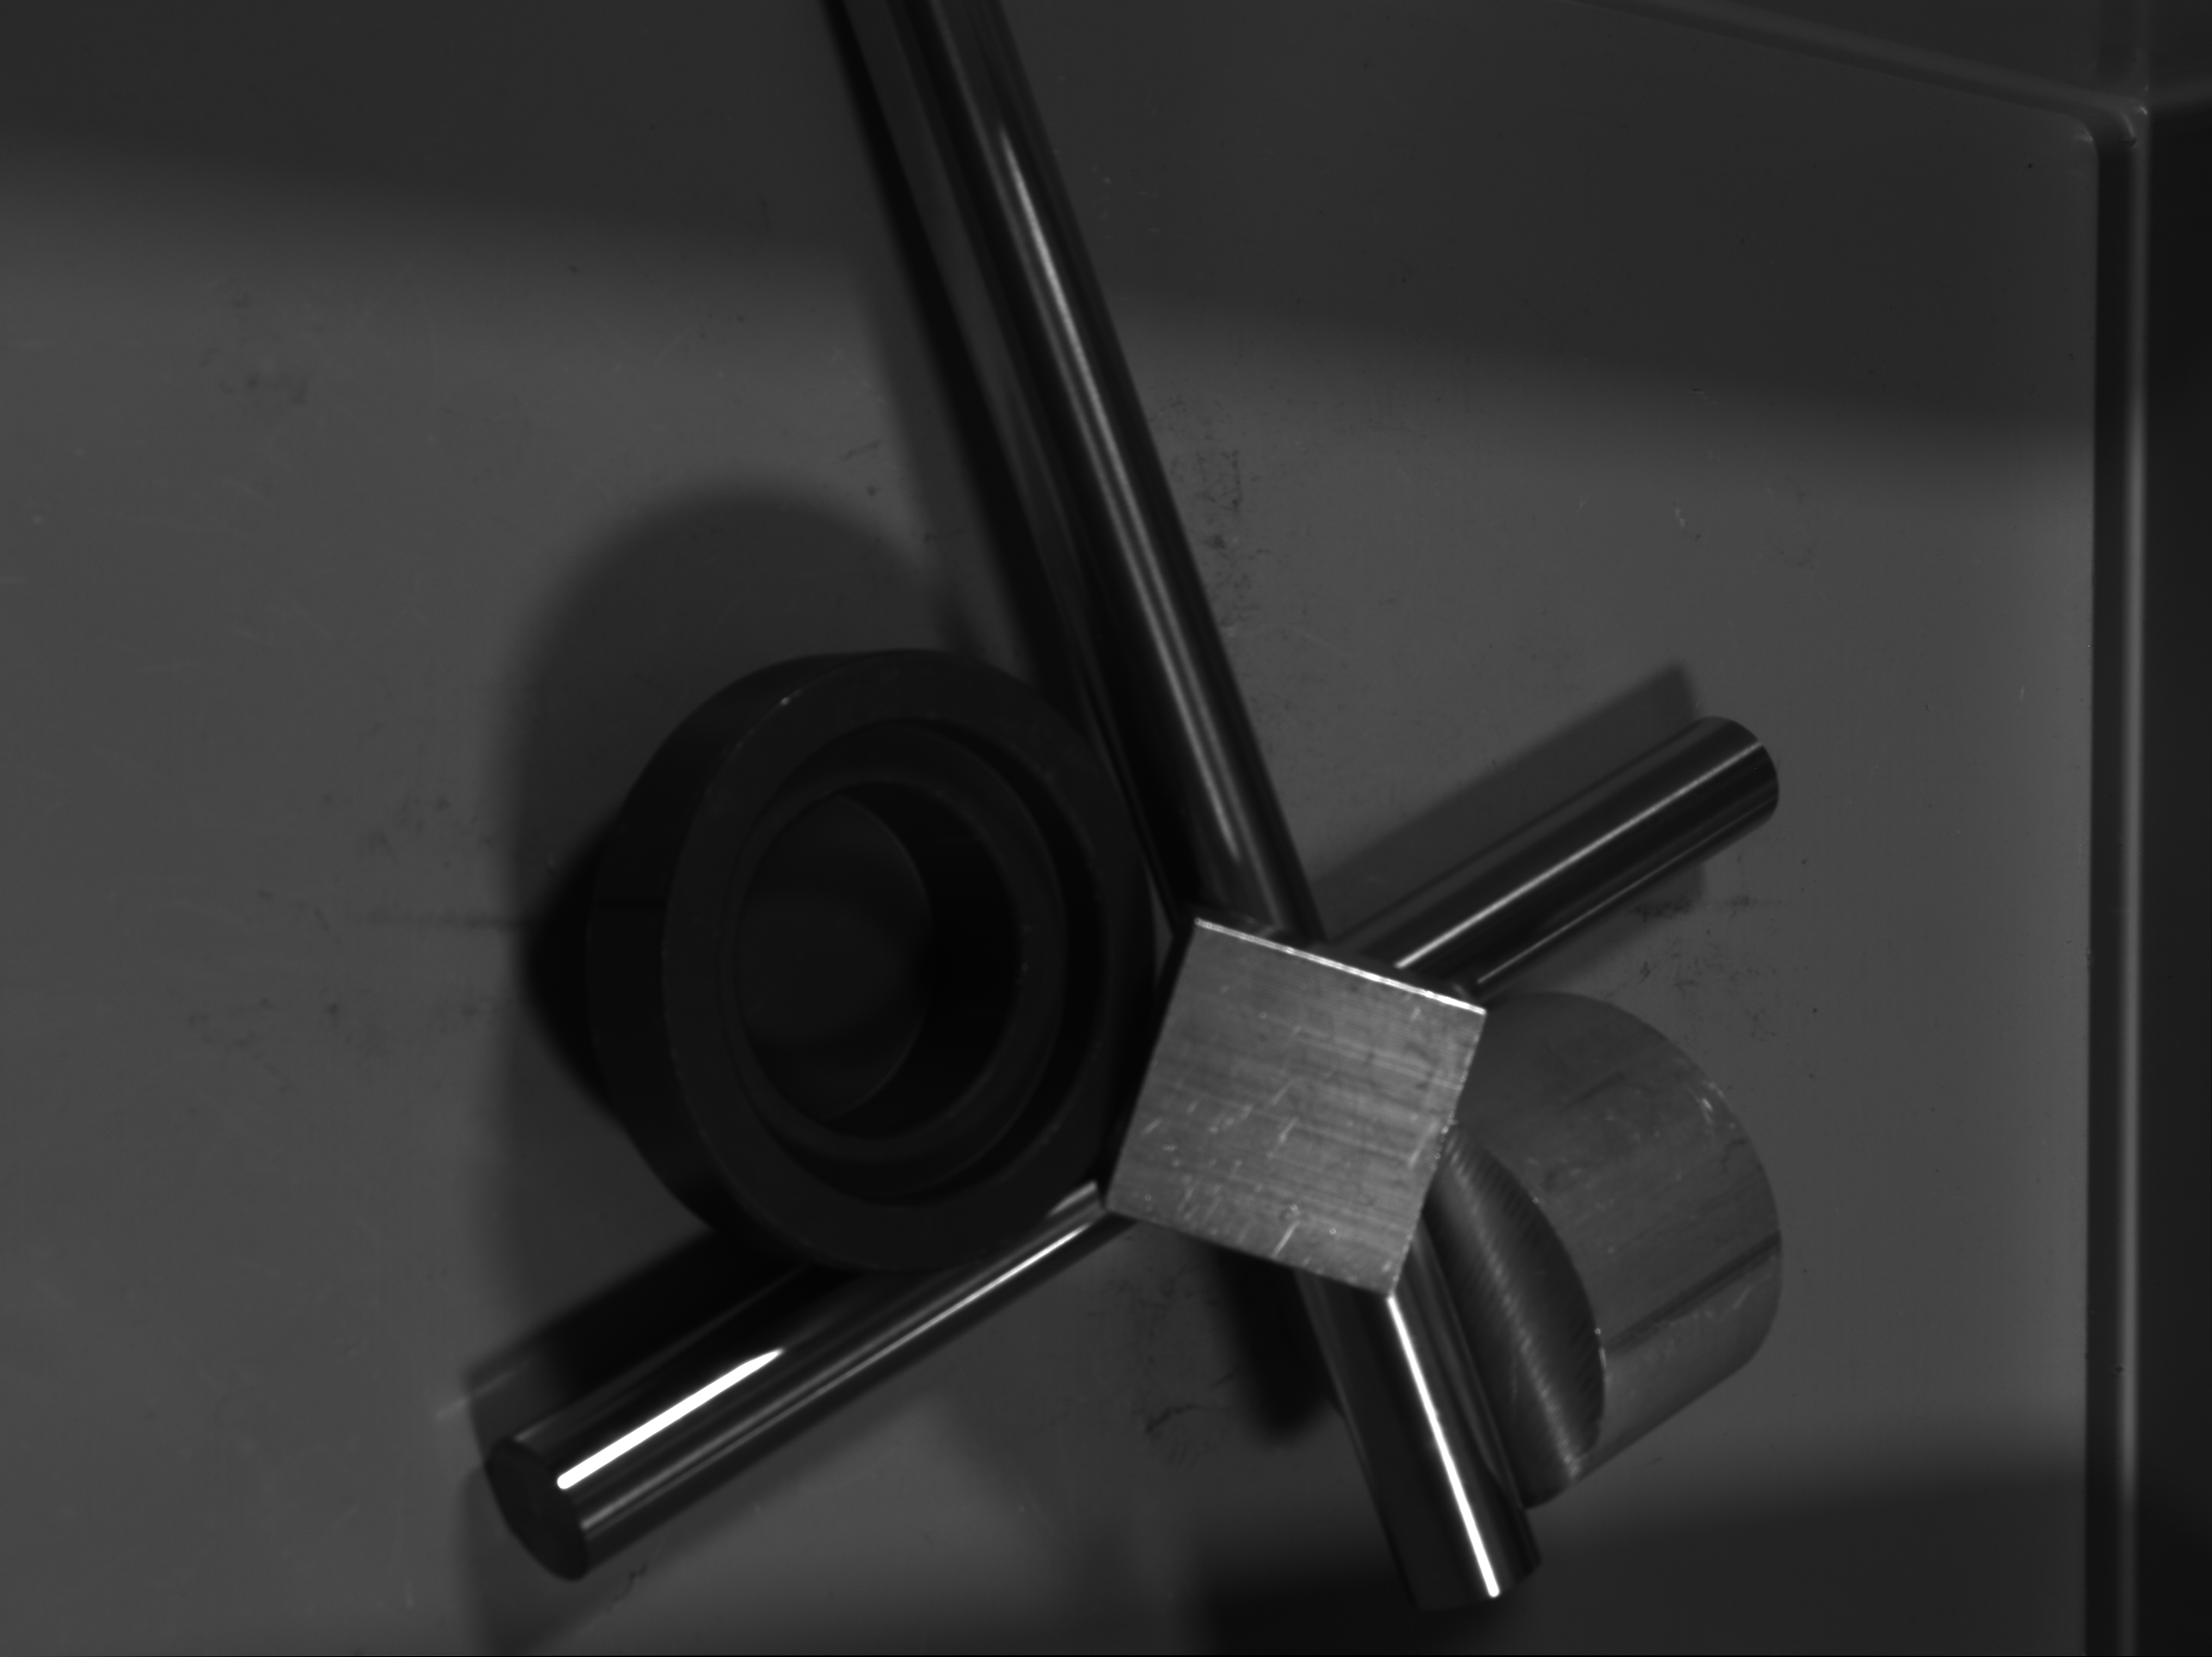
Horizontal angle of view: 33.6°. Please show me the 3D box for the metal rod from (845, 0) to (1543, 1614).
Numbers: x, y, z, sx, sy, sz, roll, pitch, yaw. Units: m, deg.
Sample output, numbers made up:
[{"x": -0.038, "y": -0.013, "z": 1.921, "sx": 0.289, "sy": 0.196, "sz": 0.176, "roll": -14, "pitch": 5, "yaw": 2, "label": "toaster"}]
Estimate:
[{"x": 0.015, "y": -0.008, "z": 0.626, "sx": 0.025, "sy": 0.025, "sz": 0.300, "roll": -24, "pitch": 98, "yaw": -37, "label": "metal rod"}]

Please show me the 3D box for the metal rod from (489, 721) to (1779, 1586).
[{"x": 0.019, "y": 0.048, "z": 0.652, "sx": 0.301, "sy": 0.025, "sz": 0.025, "roll": -28, "pitch": 108, "yaw": -36, "label": "metal rod"}]

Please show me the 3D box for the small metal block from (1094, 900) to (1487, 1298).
[{"x": 0.030, "y": 0.044, "z": 0.607, "sx": 0.050, "sy": 0.025, "sz": 0.050, "roll": 18, "pitch": 95, "yaw": -5, "label": "small metal block"}]

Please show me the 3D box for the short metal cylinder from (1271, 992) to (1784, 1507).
[{"x": 0.075, "y": 0.076, "z": 0.663, "sx": 0.050, "sy": 0.080, "sz": 0.080, "roll": -25, "pitch": 105, "yaw": -37, "label": "short metal cylinder"}]

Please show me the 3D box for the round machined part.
[{"x": -0.043, "y": 0.020, "z": 0.590, "sx": 0.098, "sy": 0.042, "sz": 0.098, "roll": 0, "pitch": 90, "yaw": -40, "label": "round machined part"}]
